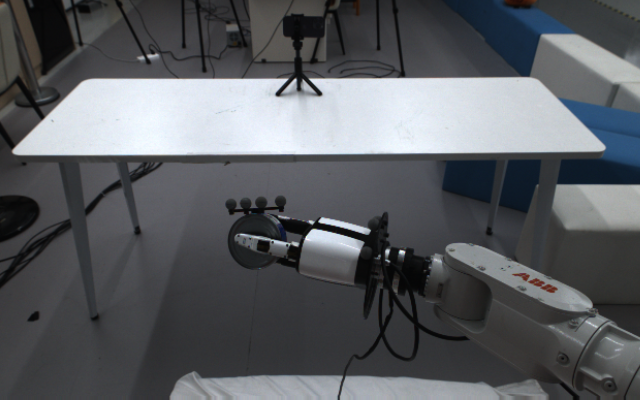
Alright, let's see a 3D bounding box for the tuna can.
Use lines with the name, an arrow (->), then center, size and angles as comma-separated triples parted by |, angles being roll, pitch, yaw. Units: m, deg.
tuna can -> -0.089, 0.063, 0.742 | 0.085, 0.085, 0.034 | 10, 2, 11
